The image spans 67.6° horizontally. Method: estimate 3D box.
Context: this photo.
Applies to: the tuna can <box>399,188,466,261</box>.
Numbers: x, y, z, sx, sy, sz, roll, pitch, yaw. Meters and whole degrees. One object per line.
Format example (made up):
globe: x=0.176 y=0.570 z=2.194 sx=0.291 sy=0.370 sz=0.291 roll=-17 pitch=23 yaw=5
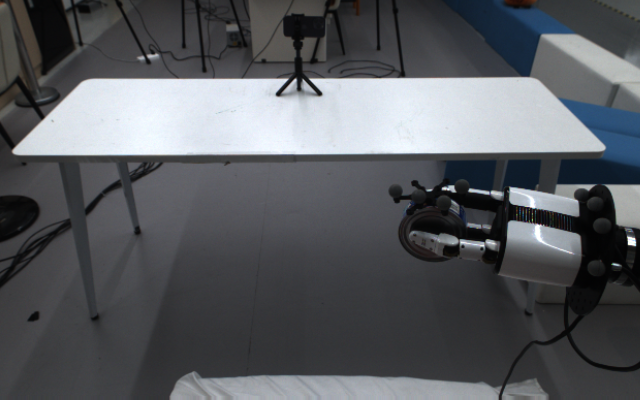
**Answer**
tuna can: x=0.147 y=0.035 z=0.621 sx=0.085 sy=0.085 sz=0.034 roll=10 pitch=33 yaw=11
